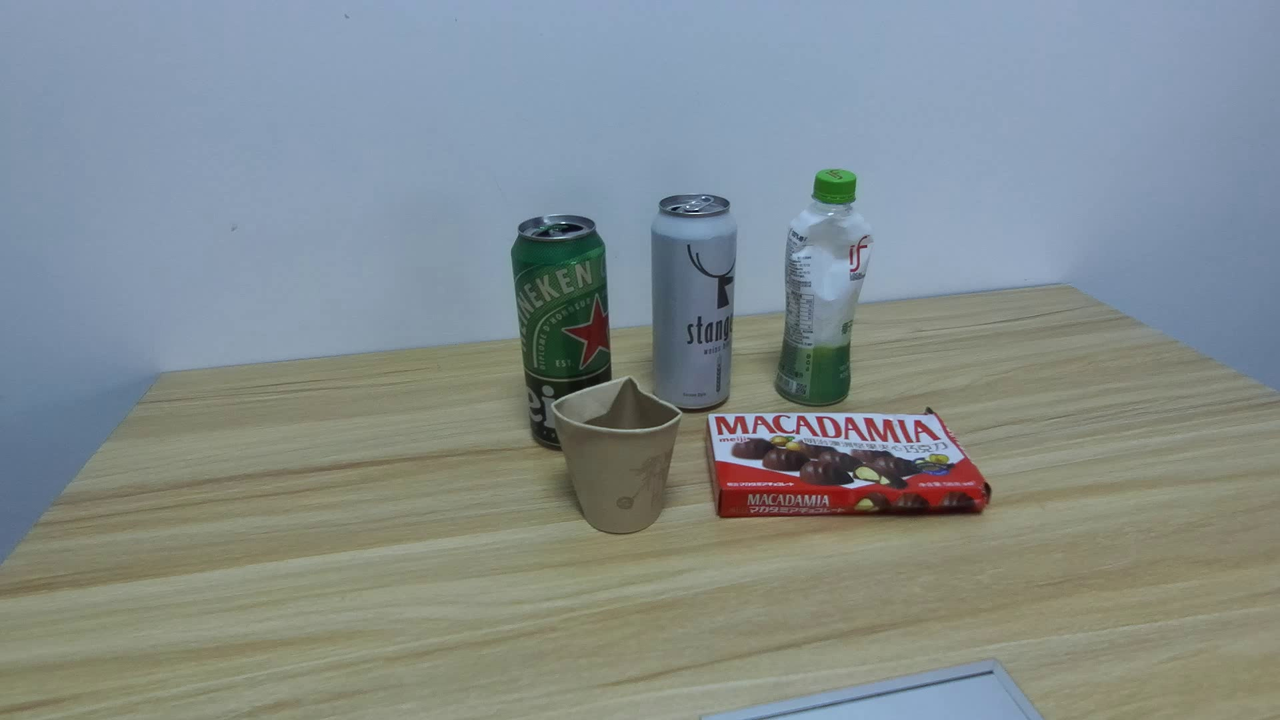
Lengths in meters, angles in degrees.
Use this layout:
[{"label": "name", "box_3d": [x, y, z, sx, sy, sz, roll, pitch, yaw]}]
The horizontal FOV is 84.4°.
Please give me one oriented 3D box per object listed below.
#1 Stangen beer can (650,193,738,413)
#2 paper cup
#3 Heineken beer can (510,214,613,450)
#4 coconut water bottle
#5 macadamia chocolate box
[{"label": "Stangen beer can", "box_3d": [0.043, -0.044, 0.571, 0.067, 0.171, 0.067, 0, 27, 1]}, {"label": "paper cup", "box_3d": [-0.014, 0.065, 0.457, 0.066, 0.084, 0.071, -18, 31, -30]}, {"label": "Heineken beer can", "box_3d": [-0.055, -0.018, 0.530, 0.067, 0.169, 0.067, -2, 27, 1]}, {"label": "coconut water bottle", "box_3d": [0.148, -0.057, 0.568, 0.069, 0.187, 0.069, 0, 28, 0]}, {"label": "macadamia chocolate box", "box_3d": [0.142, 0.072, 0.504, 0.183, 0.028, 0.105, -1, 28, -2]}]
